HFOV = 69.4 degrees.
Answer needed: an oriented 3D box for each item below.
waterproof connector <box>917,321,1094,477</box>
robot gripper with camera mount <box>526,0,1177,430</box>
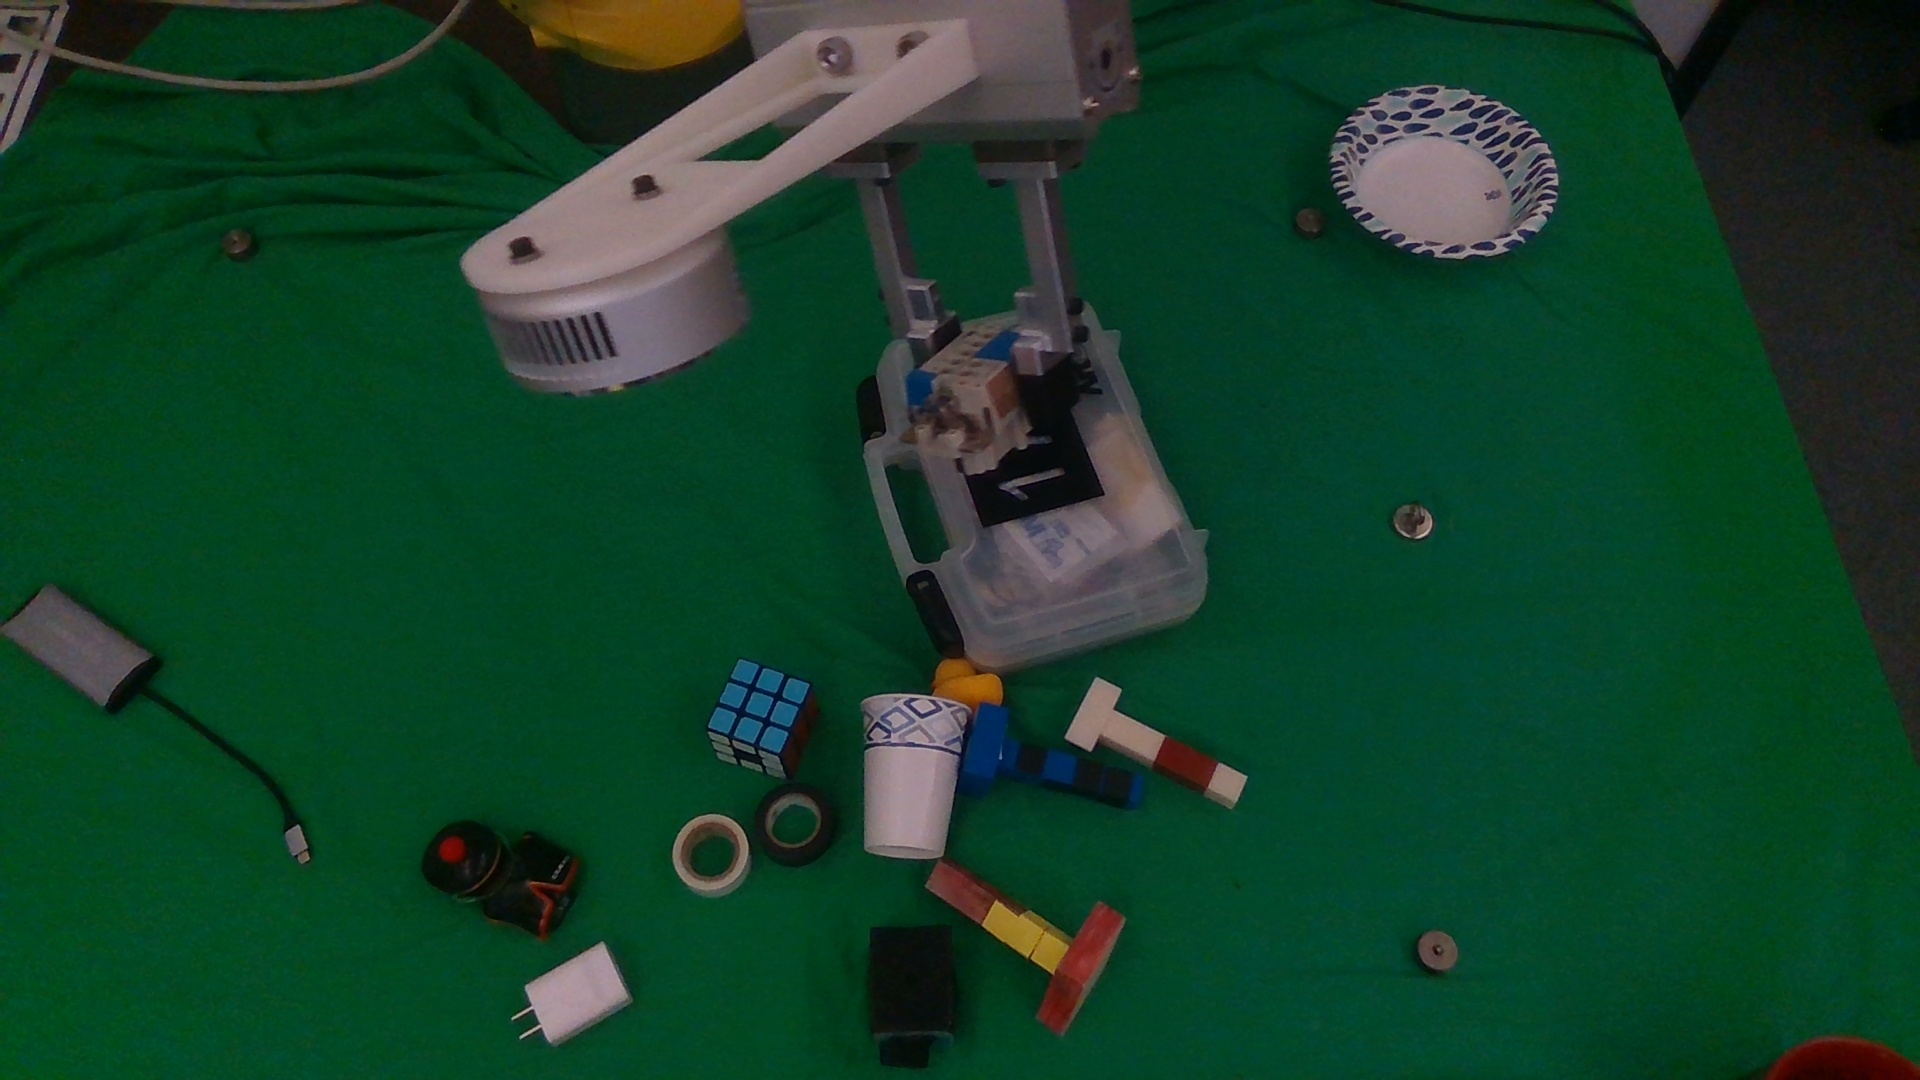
[{"bbox_3d":[0.017,-0.047,0.467,0.035,0.037,0.065,11,39,41],"label":"waterproof connector"},{"bbox_3d":[-0.024,-0.069,0.381,0.119,0.158,0.193,1,32,33],"label":"robot gripper with camera mount"}]
